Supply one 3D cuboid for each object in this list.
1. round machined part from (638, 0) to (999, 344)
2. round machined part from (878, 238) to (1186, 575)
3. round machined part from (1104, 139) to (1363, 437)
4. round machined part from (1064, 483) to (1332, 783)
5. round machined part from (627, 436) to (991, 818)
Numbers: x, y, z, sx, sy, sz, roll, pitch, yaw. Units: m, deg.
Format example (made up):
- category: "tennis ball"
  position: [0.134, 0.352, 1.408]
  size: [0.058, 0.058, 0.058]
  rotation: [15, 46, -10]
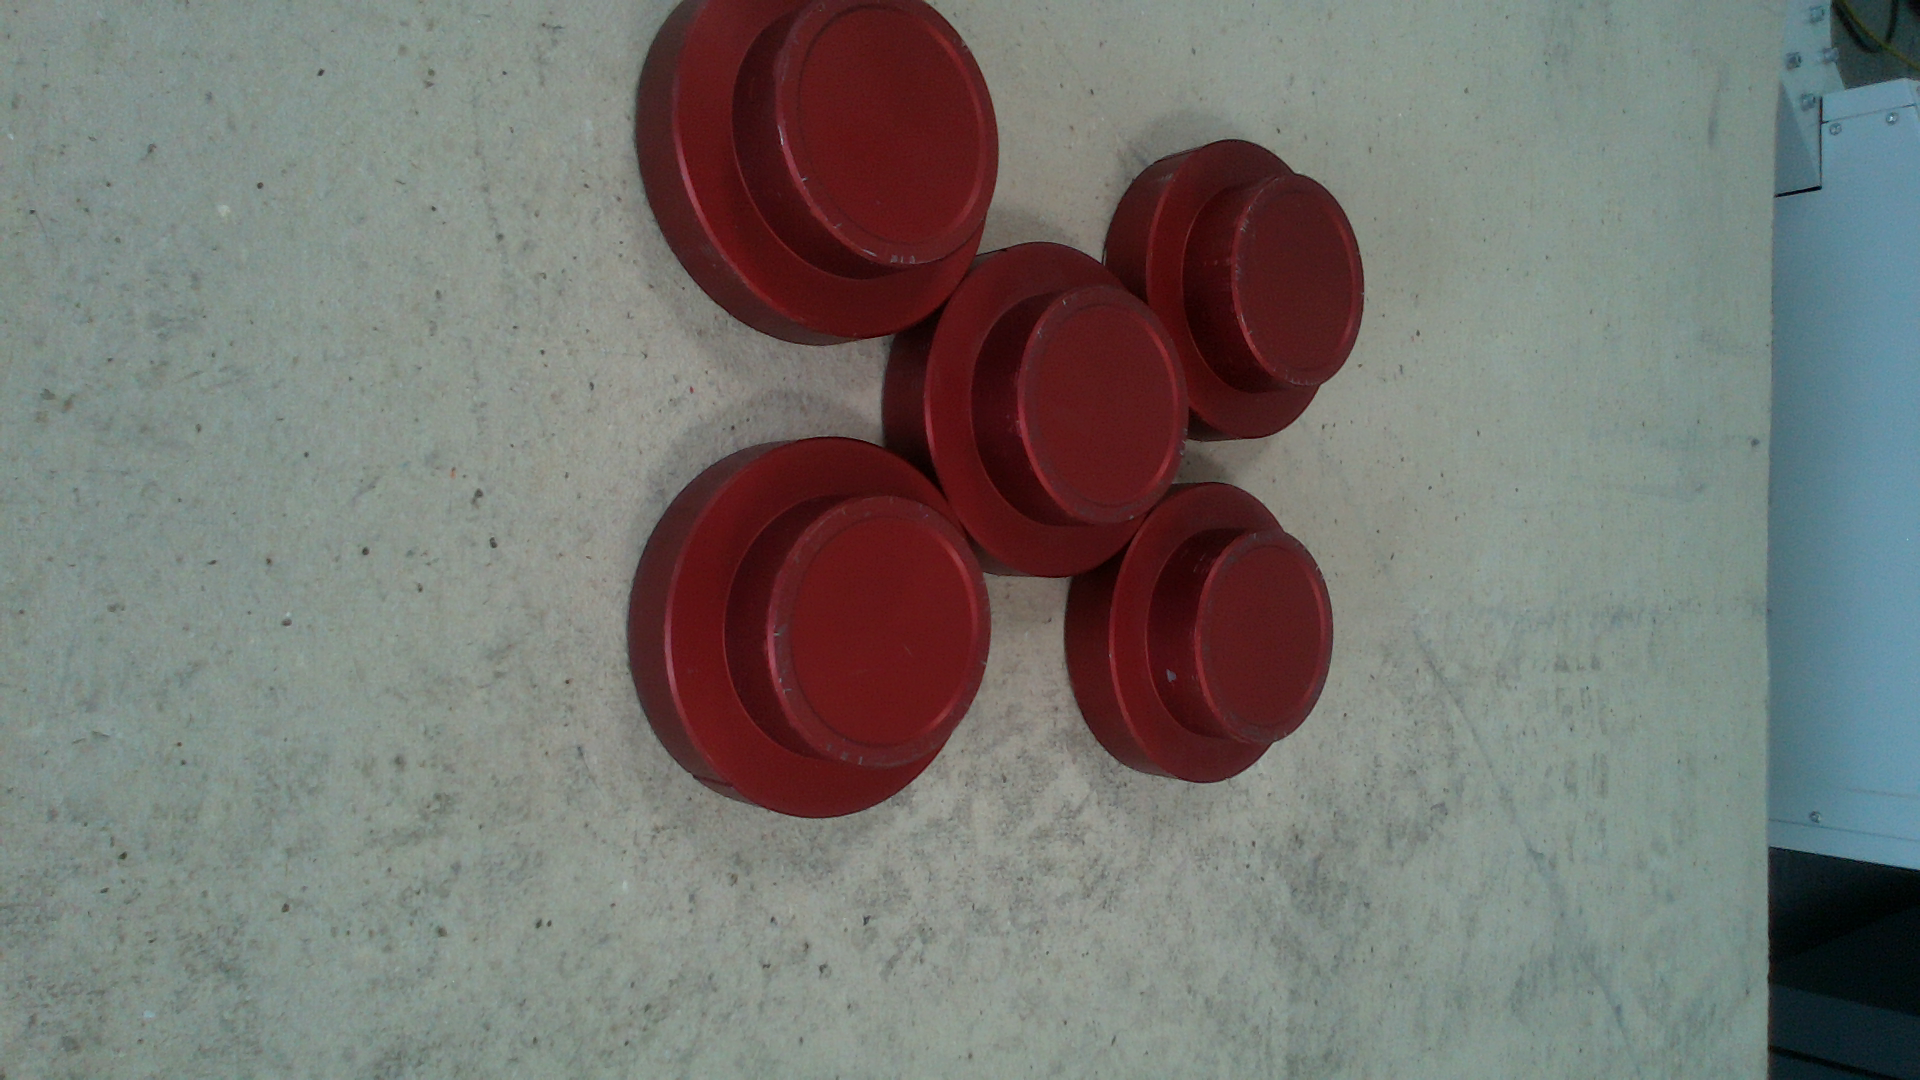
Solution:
- category: "round machined part"
  position: [-0.029, -0.102, 0.354]
  size: [0.098, 0.042, 0.098]
  rotation: [0, 90, -40]
- category: "round machined part"
  position: [0.028, -0.038, 0.401]
  size: [0.098, 0.042, 0.098]
  rotation: [-2, 93, -39]
- category: "round machined part"
  position: [0.096, -0.083, 0.457]
  size: [0.098, 0.042, 0.098]
  rotation: [-2, 93, -39]
- category: "round machined part"
  position: [0.084, 0.030, 0.448]
  size: [0.098, 0.042, 0.098]
  rotation: [-2, 93, -39]
- category: "round machined part"
  position: [-0.031, 0.022, 0.352]
  size: [0.098, 0.042, 0.098]
  rotation: [-1, 91, -40]
